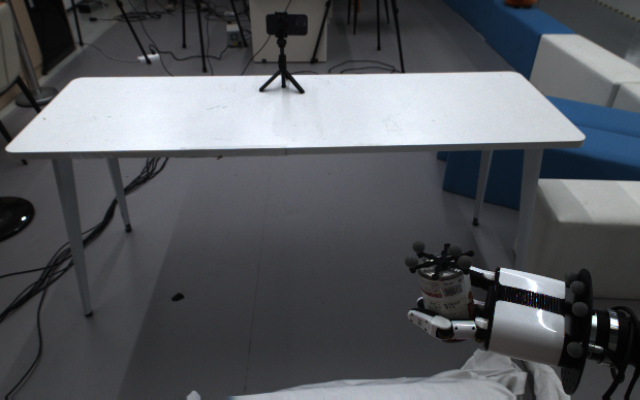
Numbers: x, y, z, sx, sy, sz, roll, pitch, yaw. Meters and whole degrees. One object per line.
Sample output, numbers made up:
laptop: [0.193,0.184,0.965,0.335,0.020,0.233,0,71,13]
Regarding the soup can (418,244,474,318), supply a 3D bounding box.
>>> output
soup can: [0.175,0.132,0.657,0.067,0.101,0.067,-12,19,4]
